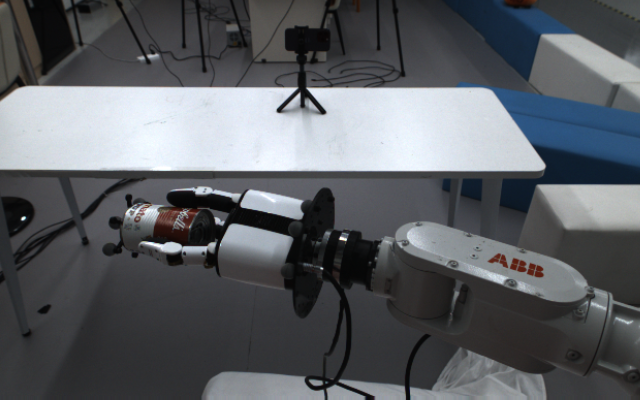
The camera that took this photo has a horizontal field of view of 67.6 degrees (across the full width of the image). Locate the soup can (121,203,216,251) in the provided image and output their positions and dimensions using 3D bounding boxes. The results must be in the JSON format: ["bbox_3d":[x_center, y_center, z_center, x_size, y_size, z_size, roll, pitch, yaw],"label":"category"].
[{"bbox_3d":[-0.195,0.042,0.631,0.101,0.067,0.067,5,34,14],"label":"soup can"}]
